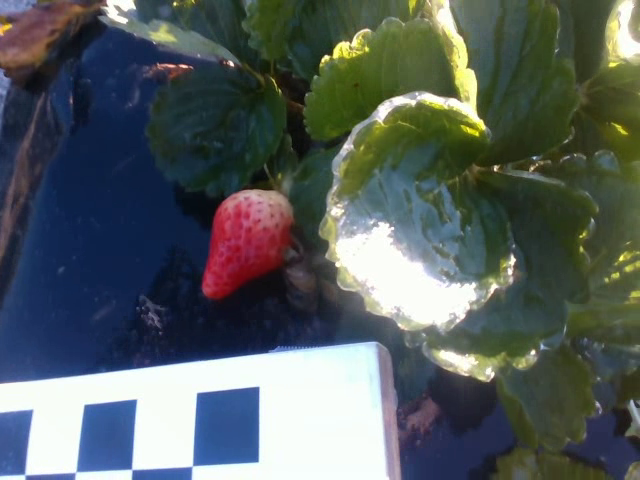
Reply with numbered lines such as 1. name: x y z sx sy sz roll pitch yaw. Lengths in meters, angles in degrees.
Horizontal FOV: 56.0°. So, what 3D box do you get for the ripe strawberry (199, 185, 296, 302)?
1. ripe strawberry: -0.042 0.000 0.280 0.040 0.065 0.040 34 -5 26
